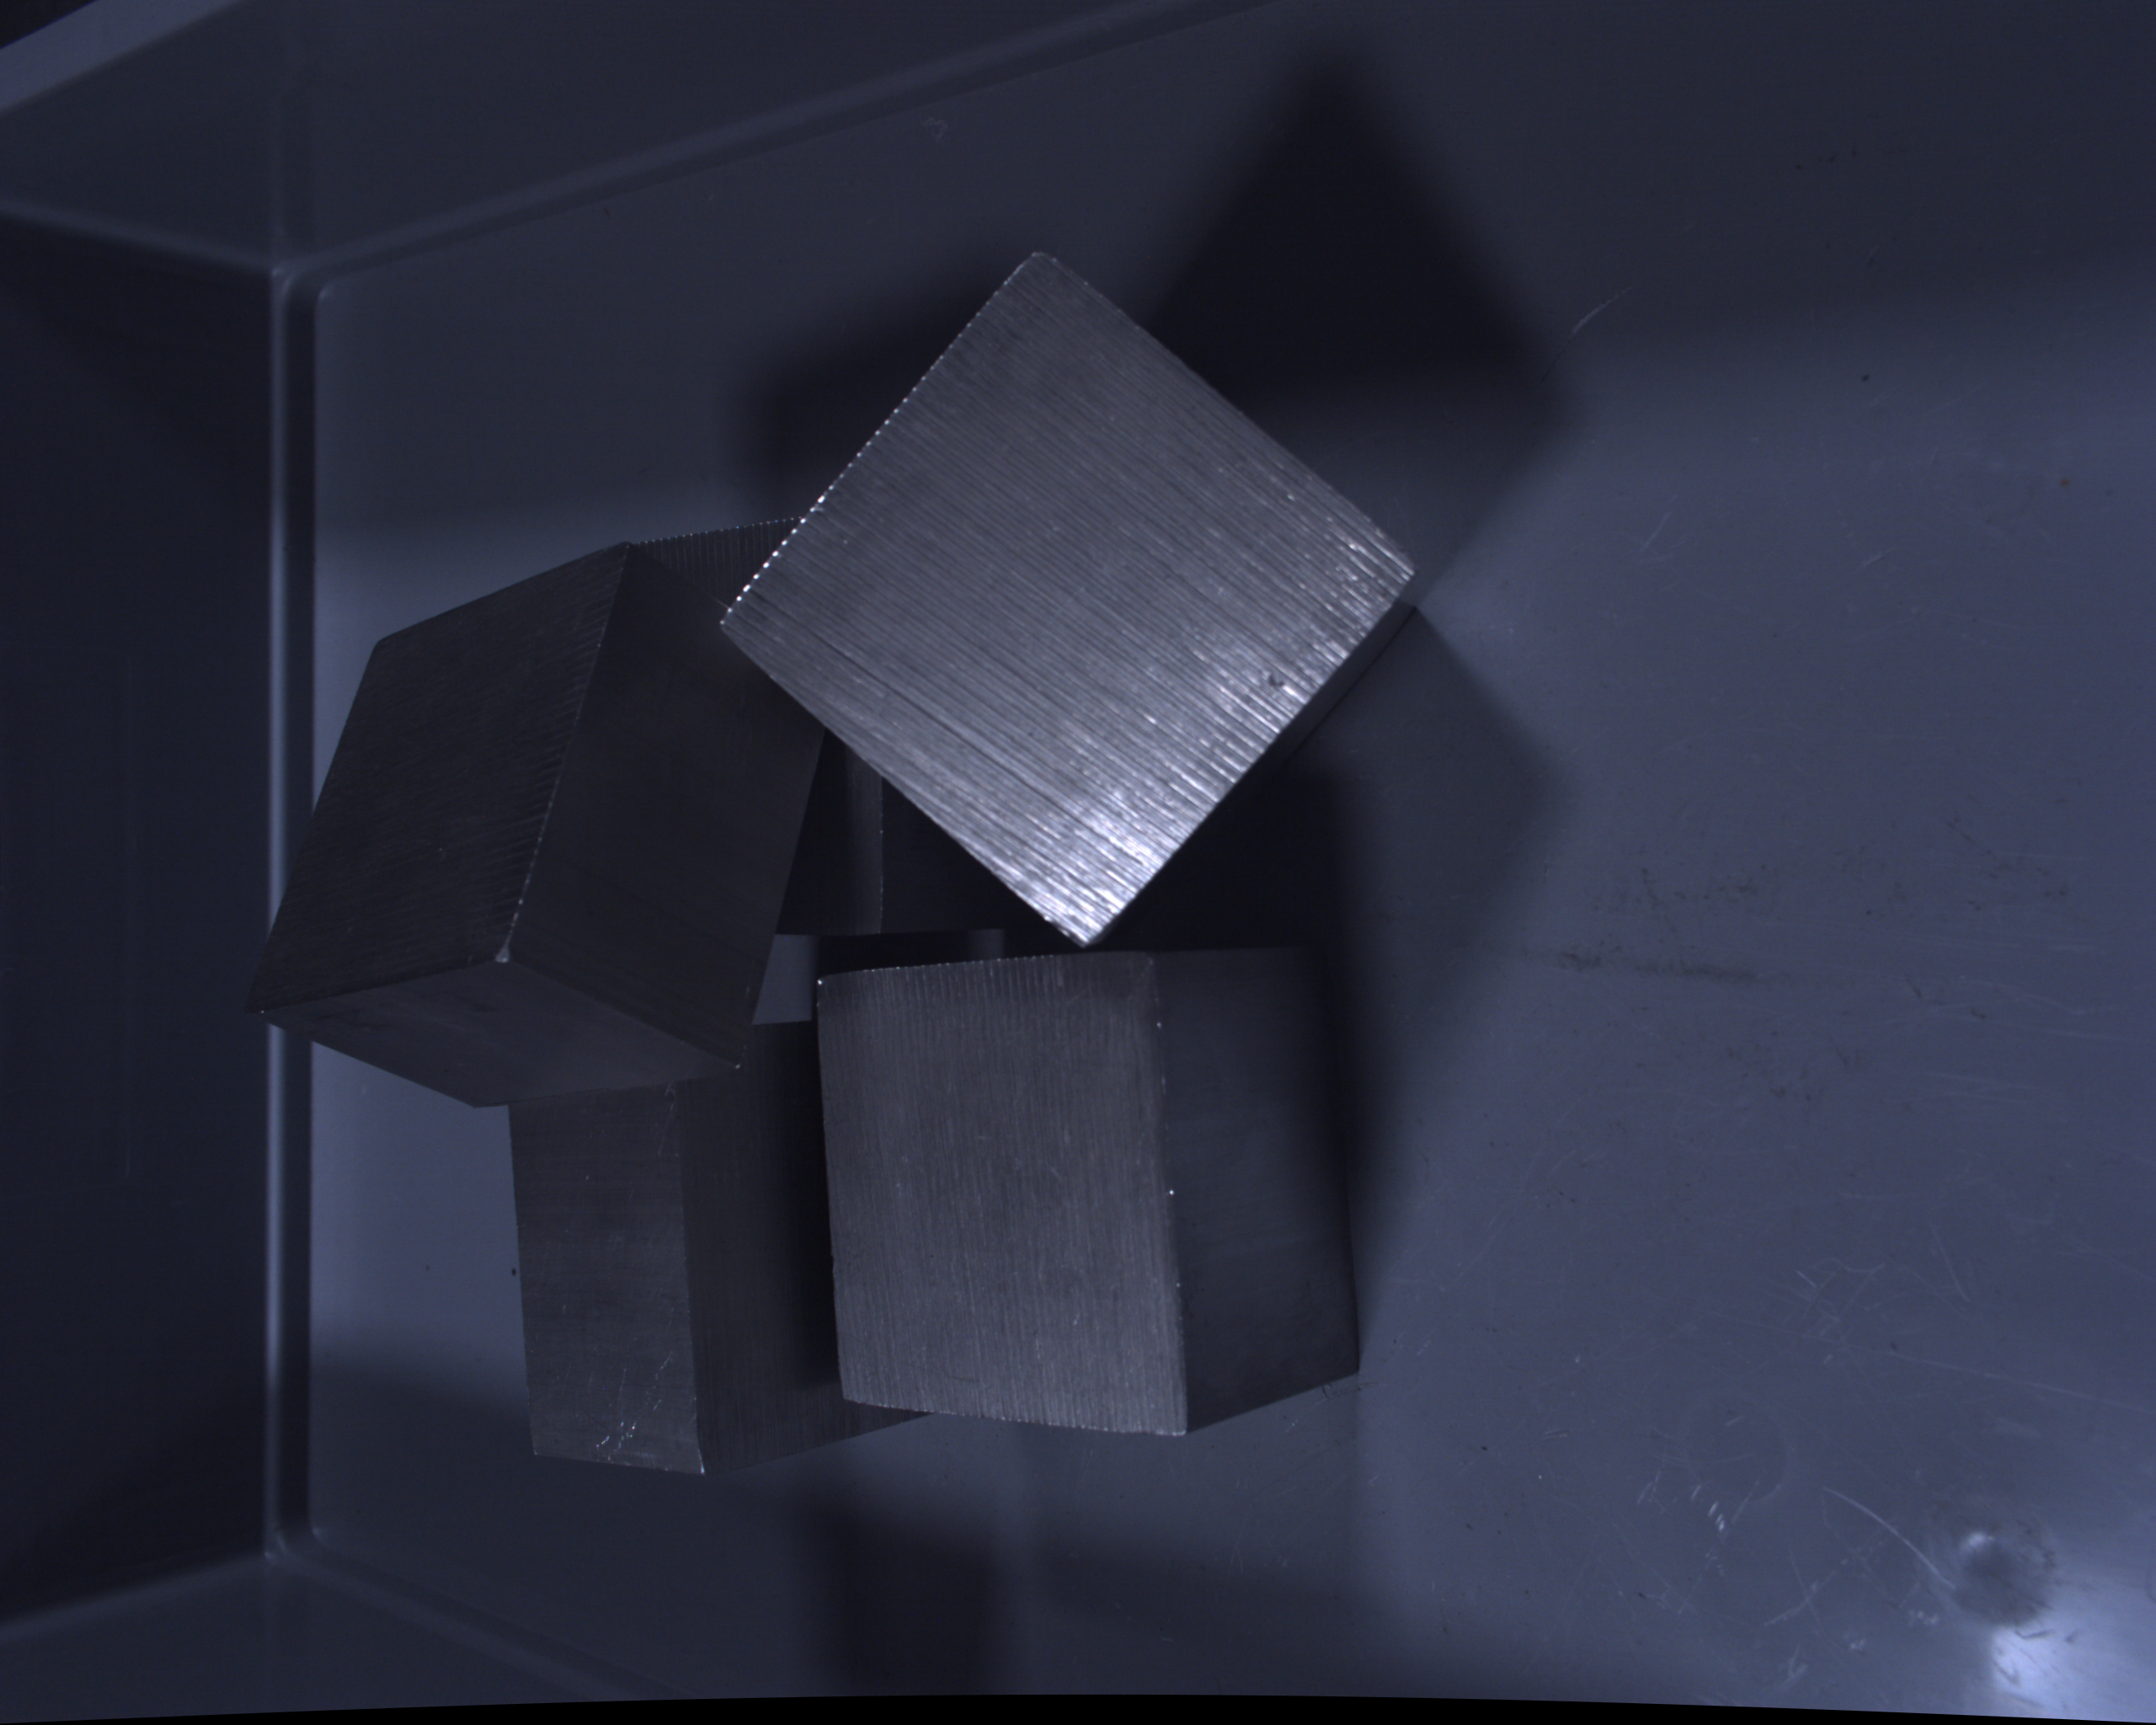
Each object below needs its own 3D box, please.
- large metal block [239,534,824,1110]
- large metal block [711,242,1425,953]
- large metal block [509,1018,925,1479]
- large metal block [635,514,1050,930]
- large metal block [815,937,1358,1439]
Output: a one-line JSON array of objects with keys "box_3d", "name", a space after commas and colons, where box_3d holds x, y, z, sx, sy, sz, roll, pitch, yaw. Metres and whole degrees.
[{"box_3d": [-0.098, -0.004, 0.382, 0.080, 0.050, 0.080, -12, 57, 39], "name": "large metal block"}, {"box_3d": [0.001, -0.042, 0.353, 0.080, 0.050, 0.080, 42, 95, 6], "name": "large metal block"}, {"box_3d": [-0.063, 0.072, 0.419, 0.050, 0.081, 0.080, -8, 85, 39], "name": "large metal block"}, {"box_3d": [-0.051, -0.027, 0.428, 0.080, 0.050, 0.079, -1, 89, 39], "name": "large metal block"}, {"box_3d": [0.001, 0.057, 0.383, 0.080, 0.050, 0.080, -7, 86, 39], "name": "large metal block"}]
